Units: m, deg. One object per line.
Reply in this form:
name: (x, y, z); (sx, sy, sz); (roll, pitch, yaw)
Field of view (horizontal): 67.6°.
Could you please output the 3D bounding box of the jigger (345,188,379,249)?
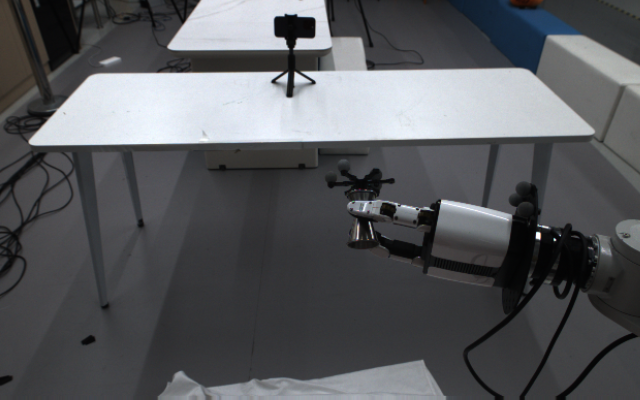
jigger: (0.055, 0.023, 0.621); (0.043, 0.043, 0.071); (1, 70, -2)
